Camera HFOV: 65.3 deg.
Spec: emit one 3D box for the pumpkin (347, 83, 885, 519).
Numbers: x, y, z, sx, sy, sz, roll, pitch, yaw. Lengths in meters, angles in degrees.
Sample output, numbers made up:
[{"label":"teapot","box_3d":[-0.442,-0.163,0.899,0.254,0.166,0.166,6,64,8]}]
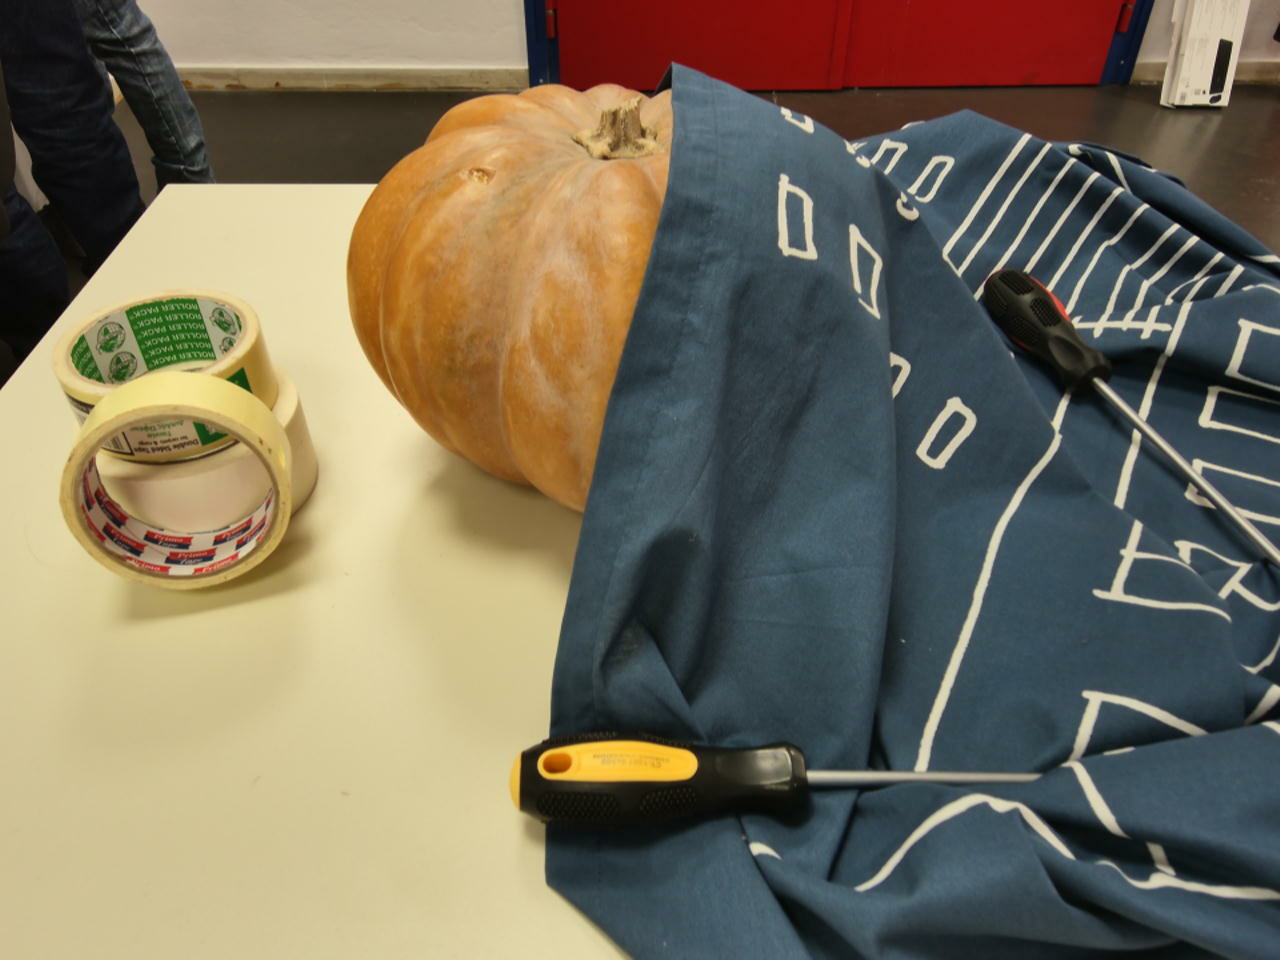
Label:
[{"label":"pumpkin","box_3d":[-0.011,-0.099,0.509,0.277,0.181,0.277,0,39,0]}]
